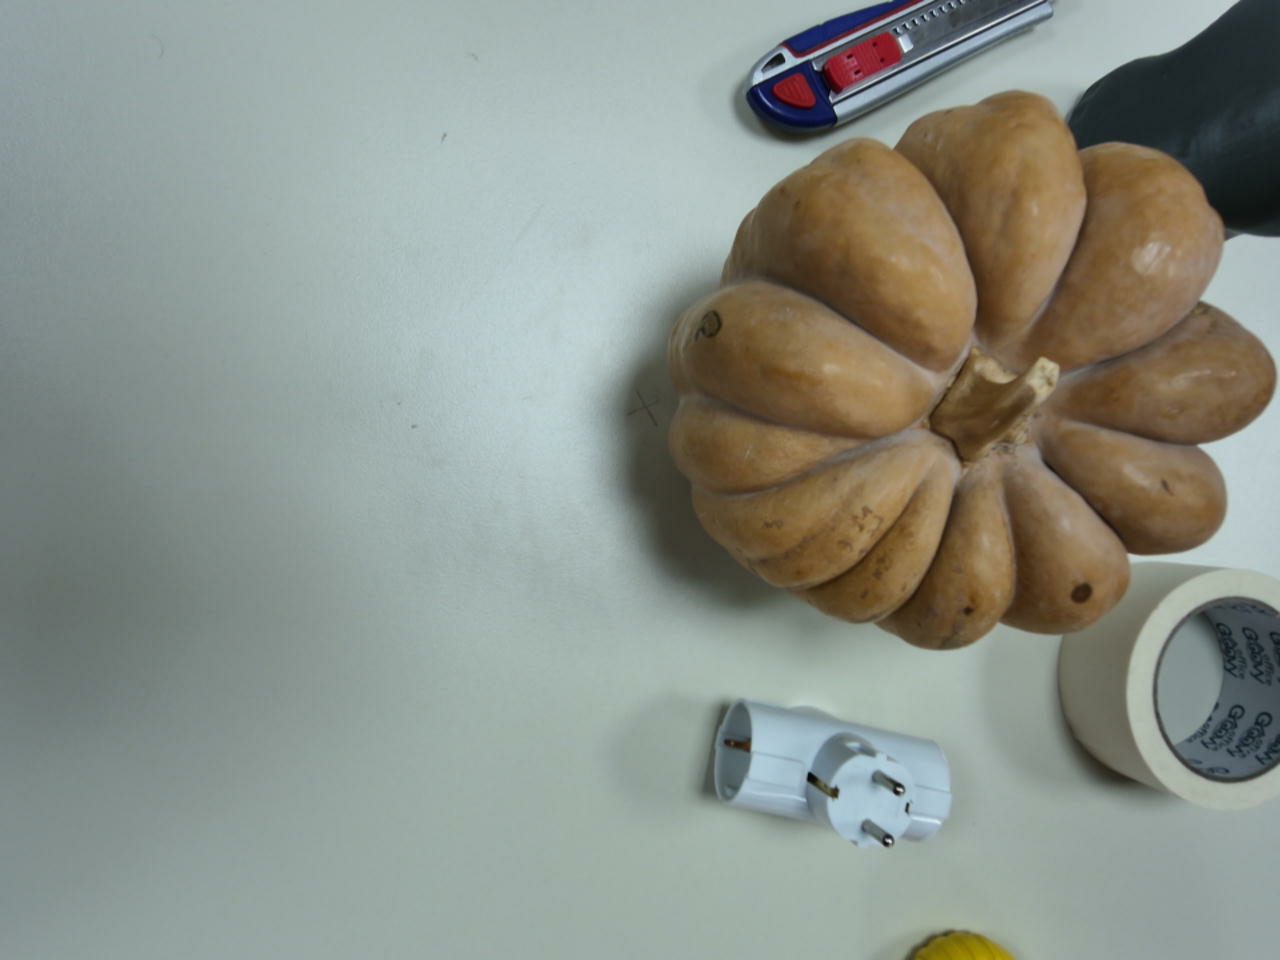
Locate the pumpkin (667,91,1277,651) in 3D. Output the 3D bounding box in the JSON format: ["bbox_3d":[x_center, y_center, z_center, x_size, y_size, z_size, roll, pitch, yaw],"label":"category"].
[{"bbox_3d":[0.108,-0.034,0.372,0.199,0.177,0.198,0,90,-12],"label":"pumpkin"}]
